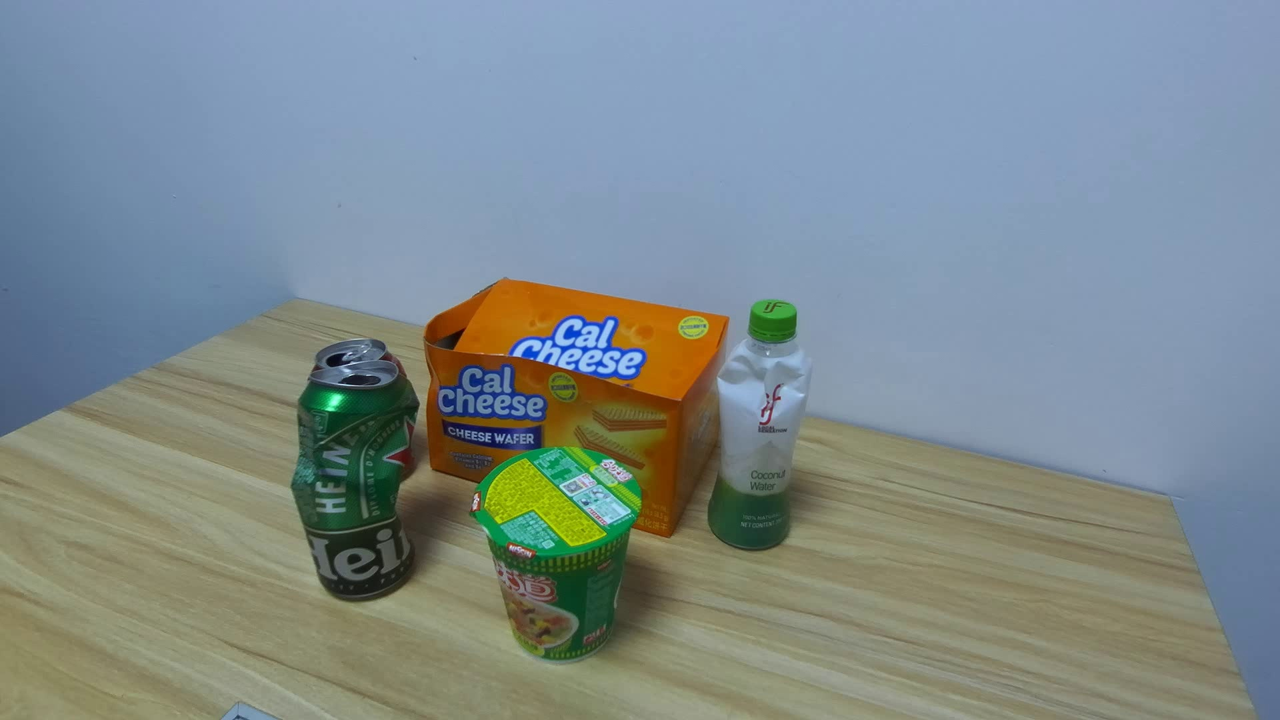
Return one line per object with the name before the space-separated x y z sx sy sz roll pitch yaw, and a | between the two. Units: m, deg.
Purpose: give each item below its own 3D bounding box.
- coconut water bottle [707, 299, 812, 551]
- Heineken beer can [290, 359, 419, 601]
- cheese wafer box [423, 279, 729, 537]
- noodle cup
coconut water bottle | 0.085 0.047 0.508 0.069 0.186 0.069 1 29 0
Heineken beer can | -0.186 0.083 0.470 0.067 0.159 0.078 2 20 -4
cheese wafer box | -0.054 0.031 0.598 0.230 0.132 0.152 12 33 18
noodle cup | -0.050 0.126 0.443 0.097 0.110 0.097 2 31 -1
